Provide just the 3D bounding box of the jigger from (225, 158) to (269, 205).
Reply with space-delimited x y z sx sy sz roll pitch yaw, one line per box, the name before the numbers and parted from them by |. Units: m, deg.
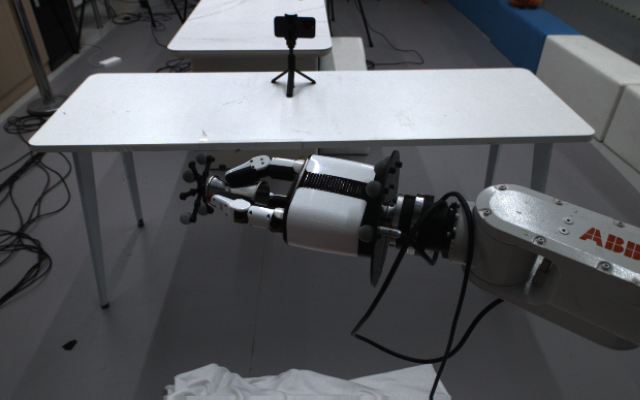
jigger | -0.099 -0.011 0.600 0.071 0.043 0.043 8 35 16
